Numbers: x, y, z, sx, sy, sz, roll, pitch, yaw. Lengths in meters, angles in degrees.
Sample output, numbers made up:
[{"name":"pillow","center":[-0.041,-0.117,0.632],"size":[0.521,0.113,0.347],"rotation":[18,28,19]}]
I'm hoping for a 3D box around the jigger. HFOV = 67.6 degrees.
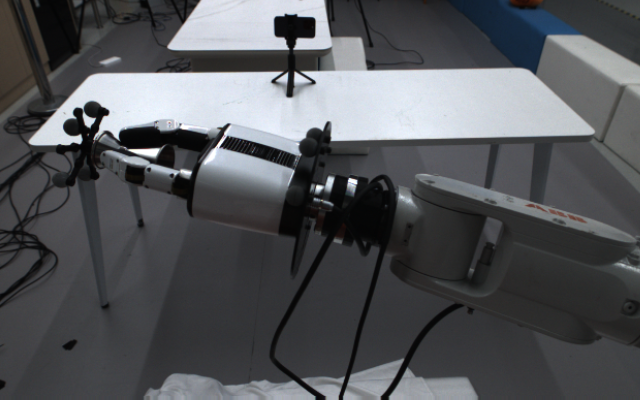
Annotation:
[{"name":"jigger","center":[-0.184,-0.044,0.491],"size":[0.071,0.043,0.043],"rotation":[14,36,4]}]
